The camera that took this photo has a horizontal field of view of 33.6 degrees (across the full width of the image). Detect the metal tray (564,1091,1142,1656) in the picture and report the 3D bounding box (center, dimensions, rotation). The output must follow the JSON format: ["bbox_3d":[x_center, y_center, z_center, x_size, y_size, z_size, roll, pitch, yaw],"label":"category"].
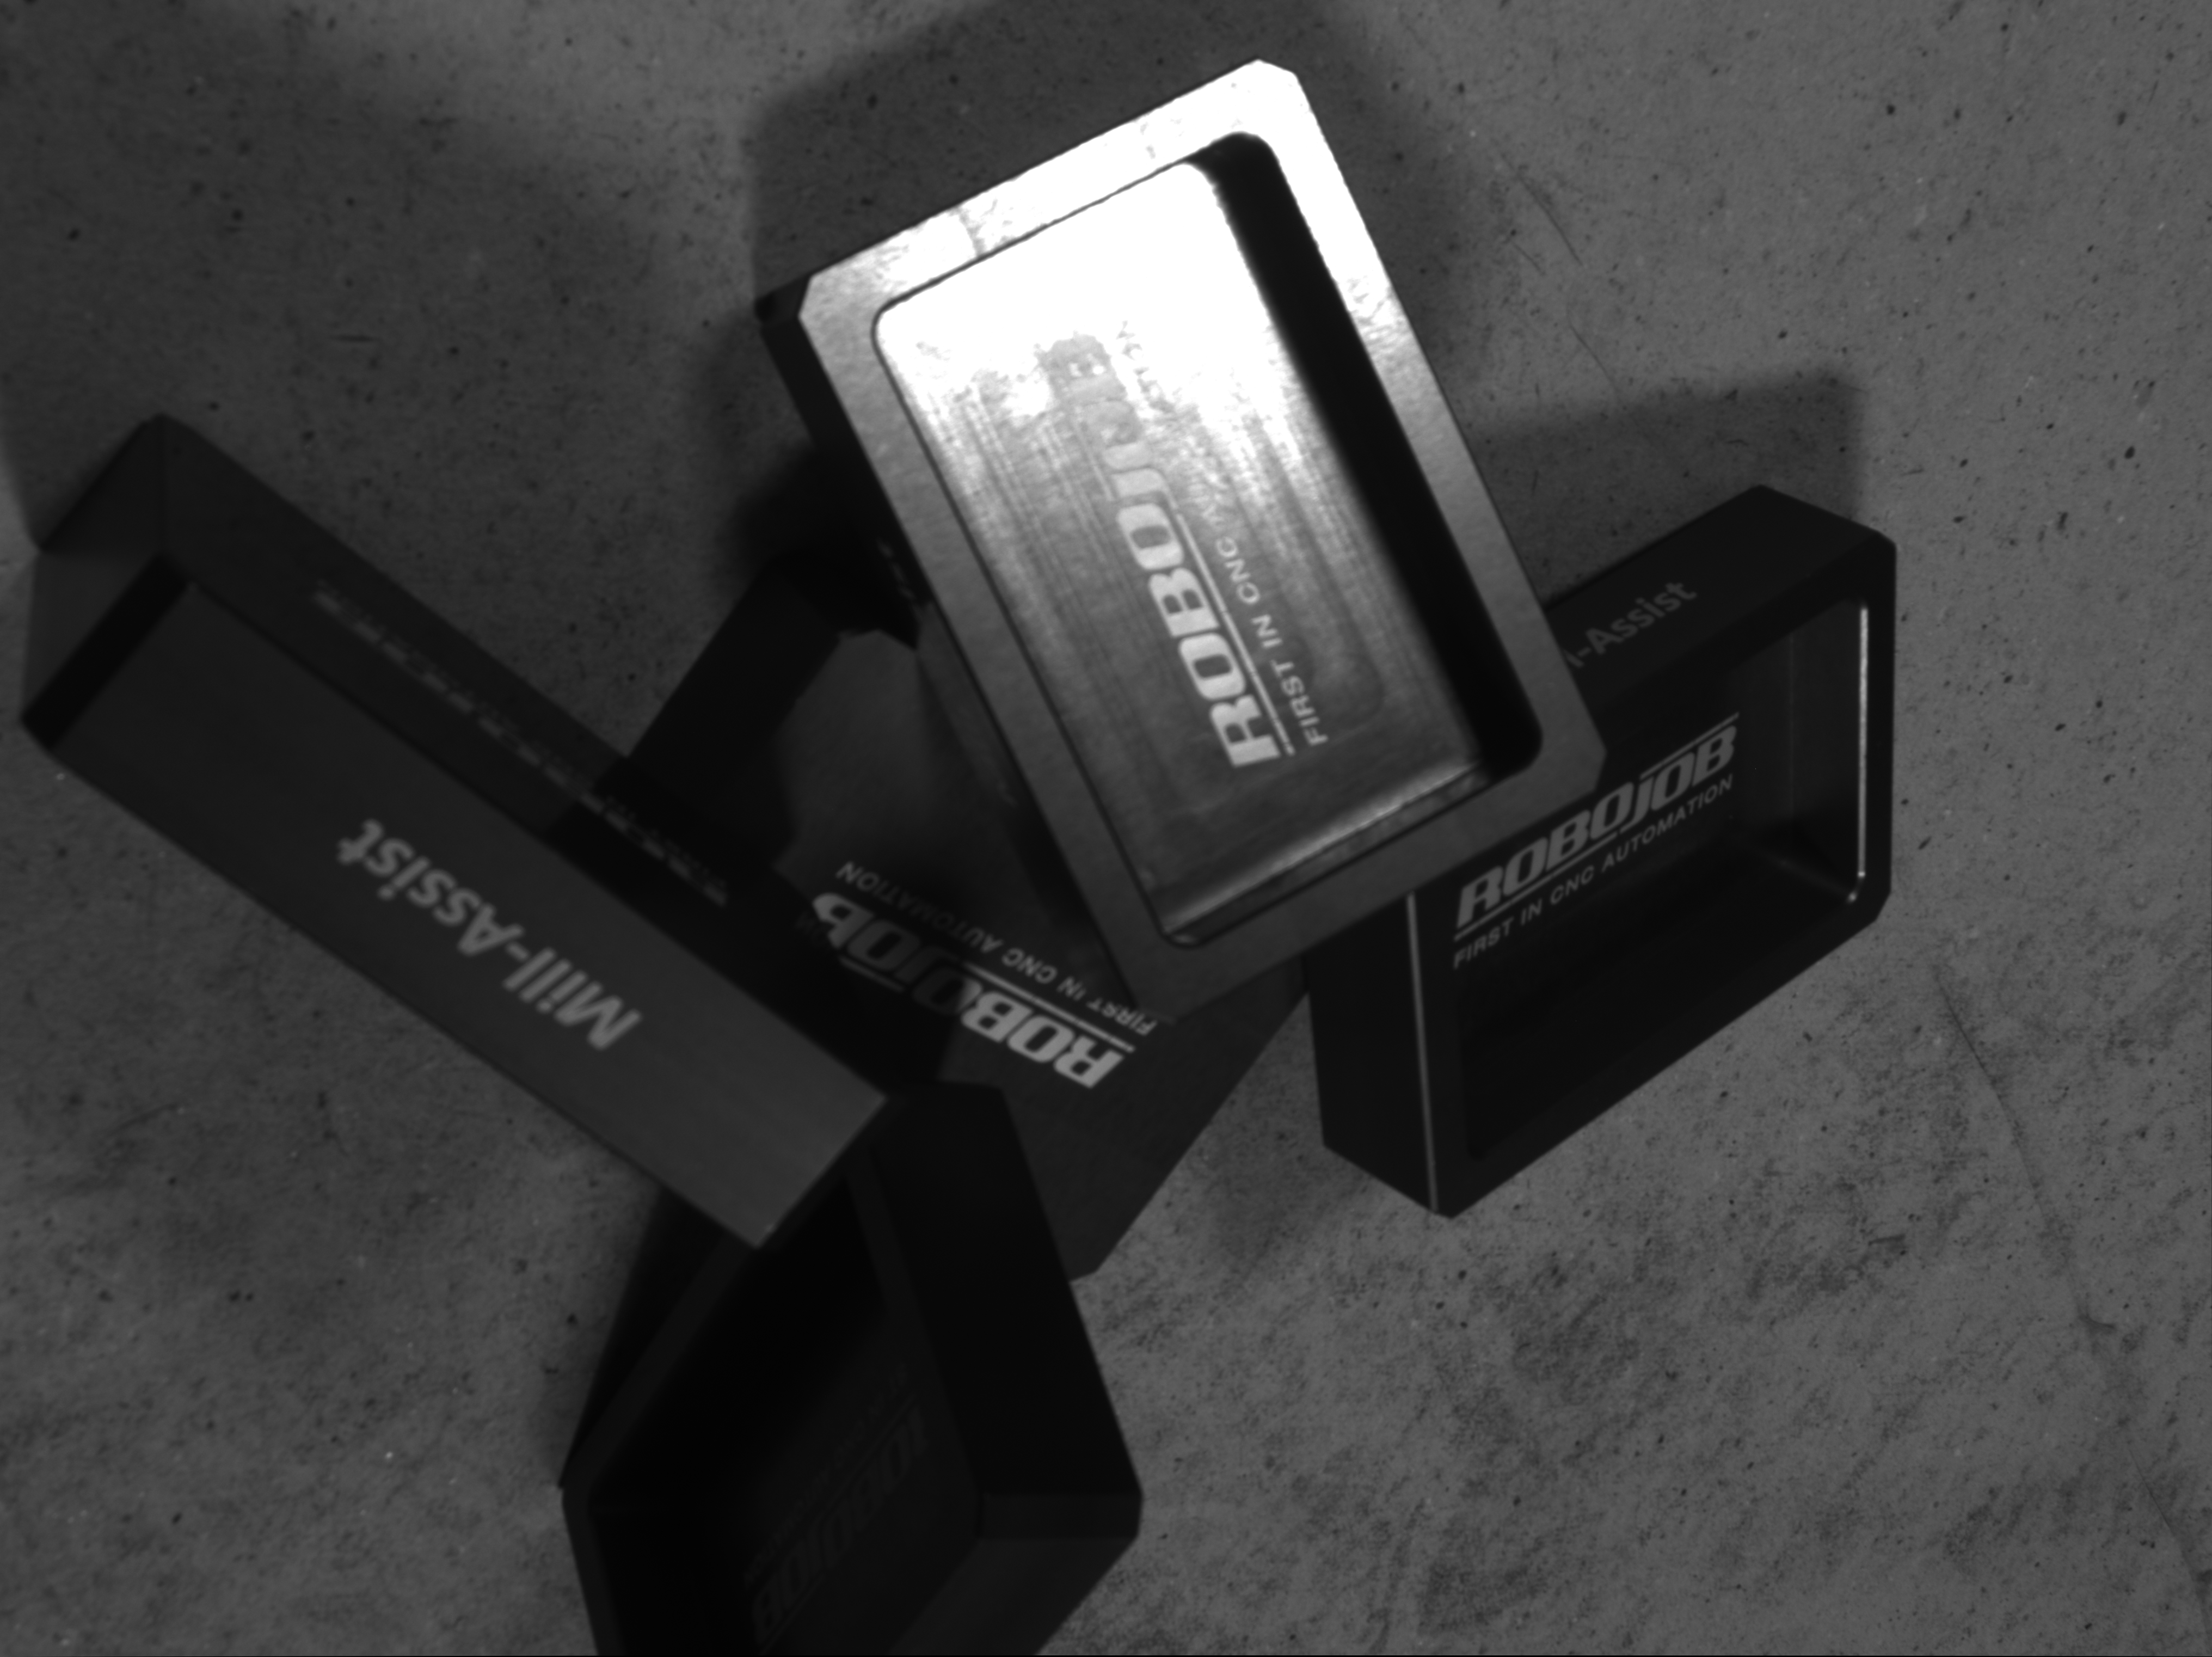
[{"bbox_3d":[-0.048,0.117,0.628,0.030,0.090,0.130,6,135,-32],"label":"metal tray"}]

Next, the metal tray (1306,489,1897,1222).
[{"bbox_3d":[0.094,0.004,0.683,0.130,0.030,0.090,-30,130,-30],"label":"metal tray"}]

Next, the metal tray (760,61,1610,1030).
[{"bbox_3d":[0.013,-0.045,0.589,0.090,0.030,0.130,-28,100,-13],"label":"metal tray"}]

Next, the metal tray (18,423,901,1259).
[{"bbox_3d":[-0.095,0.001,0.534,0.130,0.090,0.030,39,95,-23],"label":"metal tray"}]

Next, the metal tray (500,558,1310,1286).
[{"bbox_3d":[-0.029,0.020,0.643,0.130,0.030,0.090,29,101,-39],"label":"metal tray"}]
